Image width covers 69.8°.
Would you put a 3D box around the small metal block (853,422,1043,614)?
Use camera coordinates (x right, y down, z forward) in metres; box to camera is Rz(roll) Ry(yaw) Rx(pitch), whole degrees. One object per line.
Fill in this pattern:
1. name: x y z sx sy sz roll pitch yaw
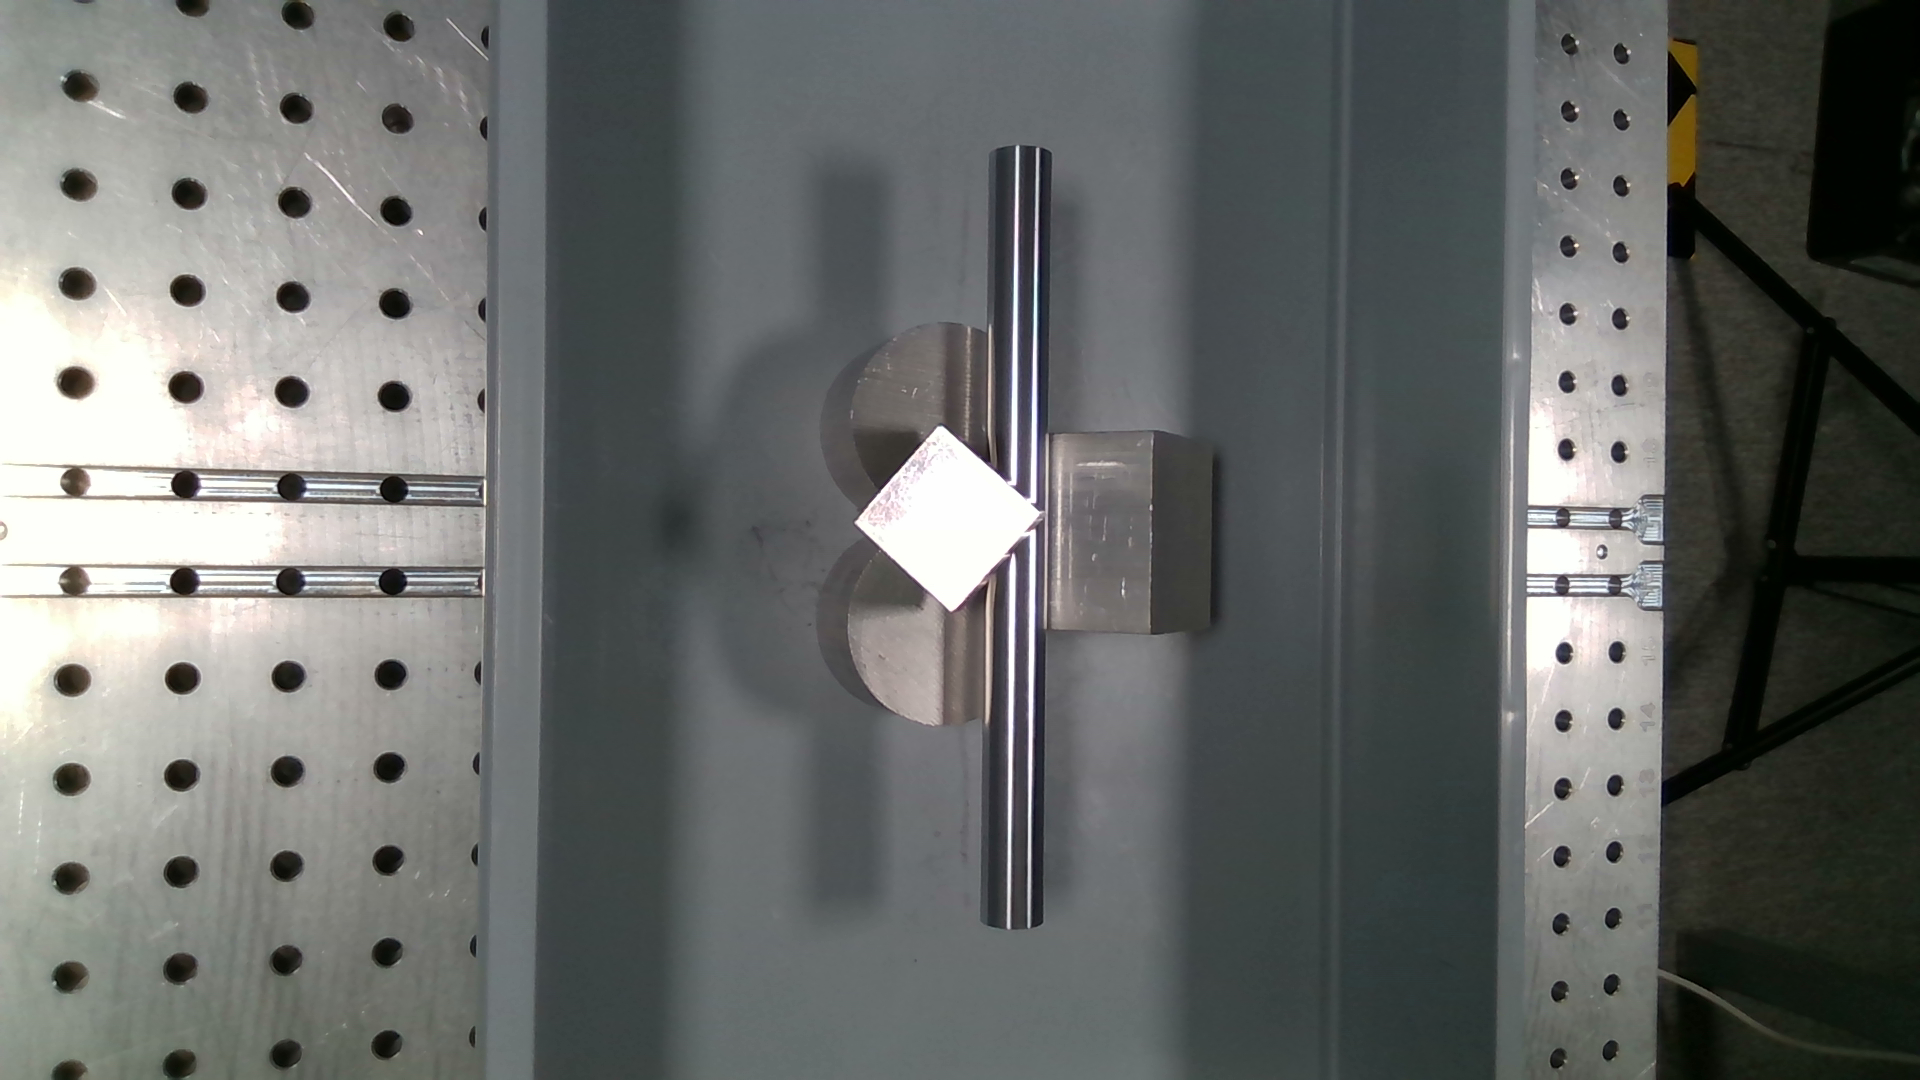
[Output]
1. small metal block: -0.003 -0.008 0.519 0.050 0.025 0.050 42 95 6

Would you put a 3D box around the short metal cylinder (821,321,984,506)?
1. short metal cylinder: -0.013 -0.046 0.567 0.080 0.050 0.080 0 90 -20

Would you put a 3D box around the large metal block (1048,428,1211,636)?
1. large metal block: 0.069 -0.003 0.575 0.080 0.050 0.080 1 89 -64

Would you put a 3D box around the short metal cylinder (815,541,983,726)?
1. short metal cylinder: -0.014 0.034 0.567 0.080 0.050 0.080 0 90 -20

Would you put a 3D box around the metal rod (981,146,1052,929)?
1. metal rod: 0.022 -0.001 0.540 0.025 0.025 0.300 1 90 -20
